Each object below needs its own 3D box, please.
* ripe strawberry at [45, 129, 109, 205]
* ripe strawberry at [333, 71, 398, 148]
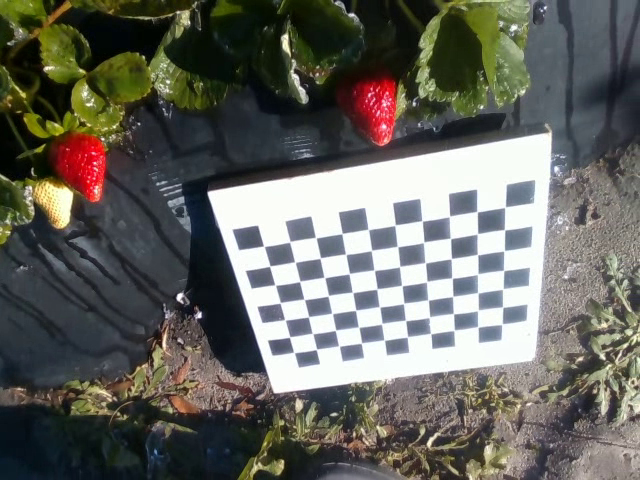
[{"bbox_3d":[-0.184,-0.053,0.478,0.043,0.061,0.046,-20,-6,13],"label":"ripe strawberry"},{"bbox_3d":[0.038,-0.095,0.447,0.048,0.061,0.044,-14,5,8],"label":"ripe strawberry"}]
